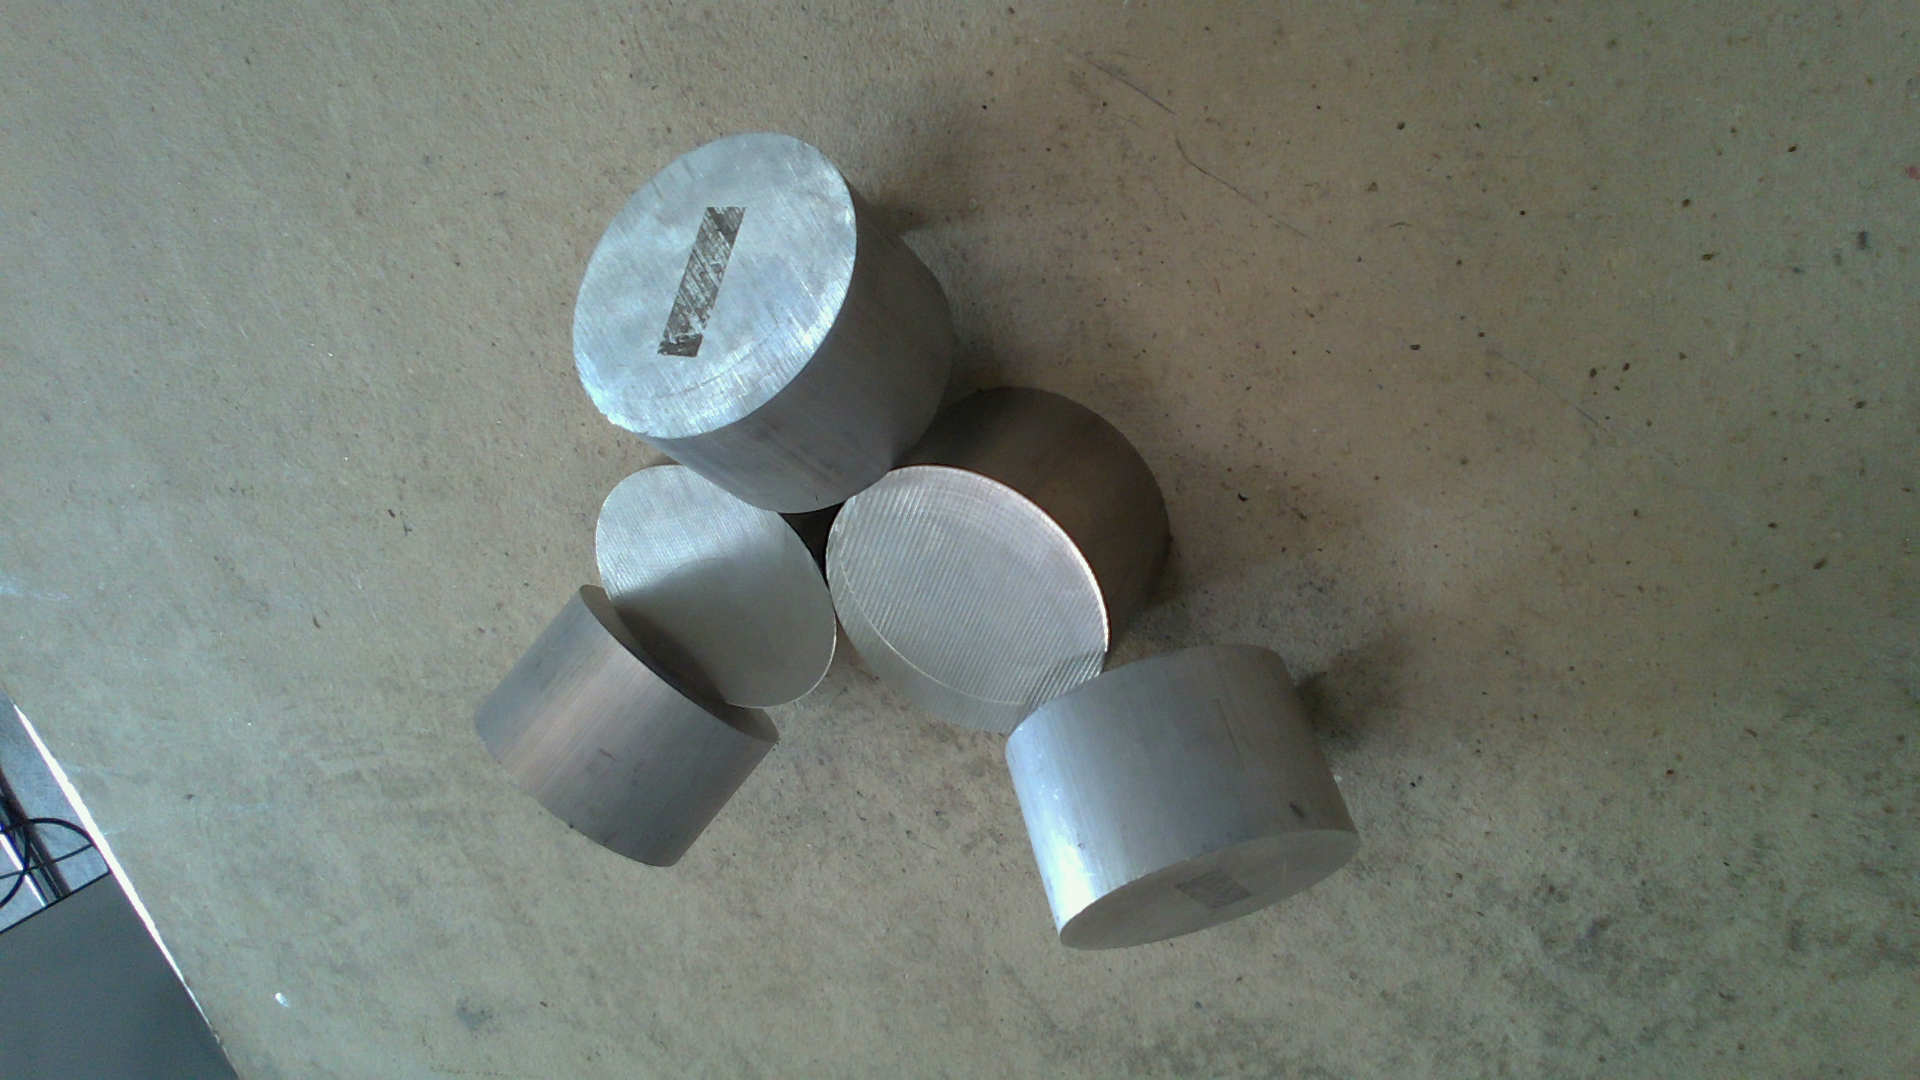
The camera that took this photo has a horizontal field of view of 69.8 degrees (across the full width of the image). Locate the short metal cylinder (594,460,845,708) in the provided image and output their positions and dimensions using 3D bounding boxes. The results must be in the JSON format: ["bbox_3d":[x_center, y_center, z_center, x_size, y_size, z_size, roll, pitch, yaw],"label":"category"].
[{"bbox_3d":[-0.060,0.003,0.411,0.080,0.050,0.080,13,124,21],"label":"short metal cylinder"}]

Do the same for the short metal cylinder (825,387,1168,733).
[{"bbox_3d":[0.011,0.005,0.374,0.080,0.050,0.080,13,124,21],"label":"short metal cylinder"}]

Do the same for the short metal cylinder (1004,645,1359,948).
[{"bbox_3d":[0.057,0.069,0.362,0.080,0.080,0.050,-43,52,39],"label":"short metal cylinder"}]

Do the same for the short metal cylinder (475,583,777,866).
[{"bbox_3d":[-0.106,0.059,0.443,0.080,0.080,0.050,39,89,1],"label":"short metal cylinder"}]

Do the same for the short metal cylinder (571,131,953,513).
[{"bbox_3d":[-0.049,-0.053,0.343,0.080,0.080,0.050,2,162,28],"label":"short metal cylinder"}]
